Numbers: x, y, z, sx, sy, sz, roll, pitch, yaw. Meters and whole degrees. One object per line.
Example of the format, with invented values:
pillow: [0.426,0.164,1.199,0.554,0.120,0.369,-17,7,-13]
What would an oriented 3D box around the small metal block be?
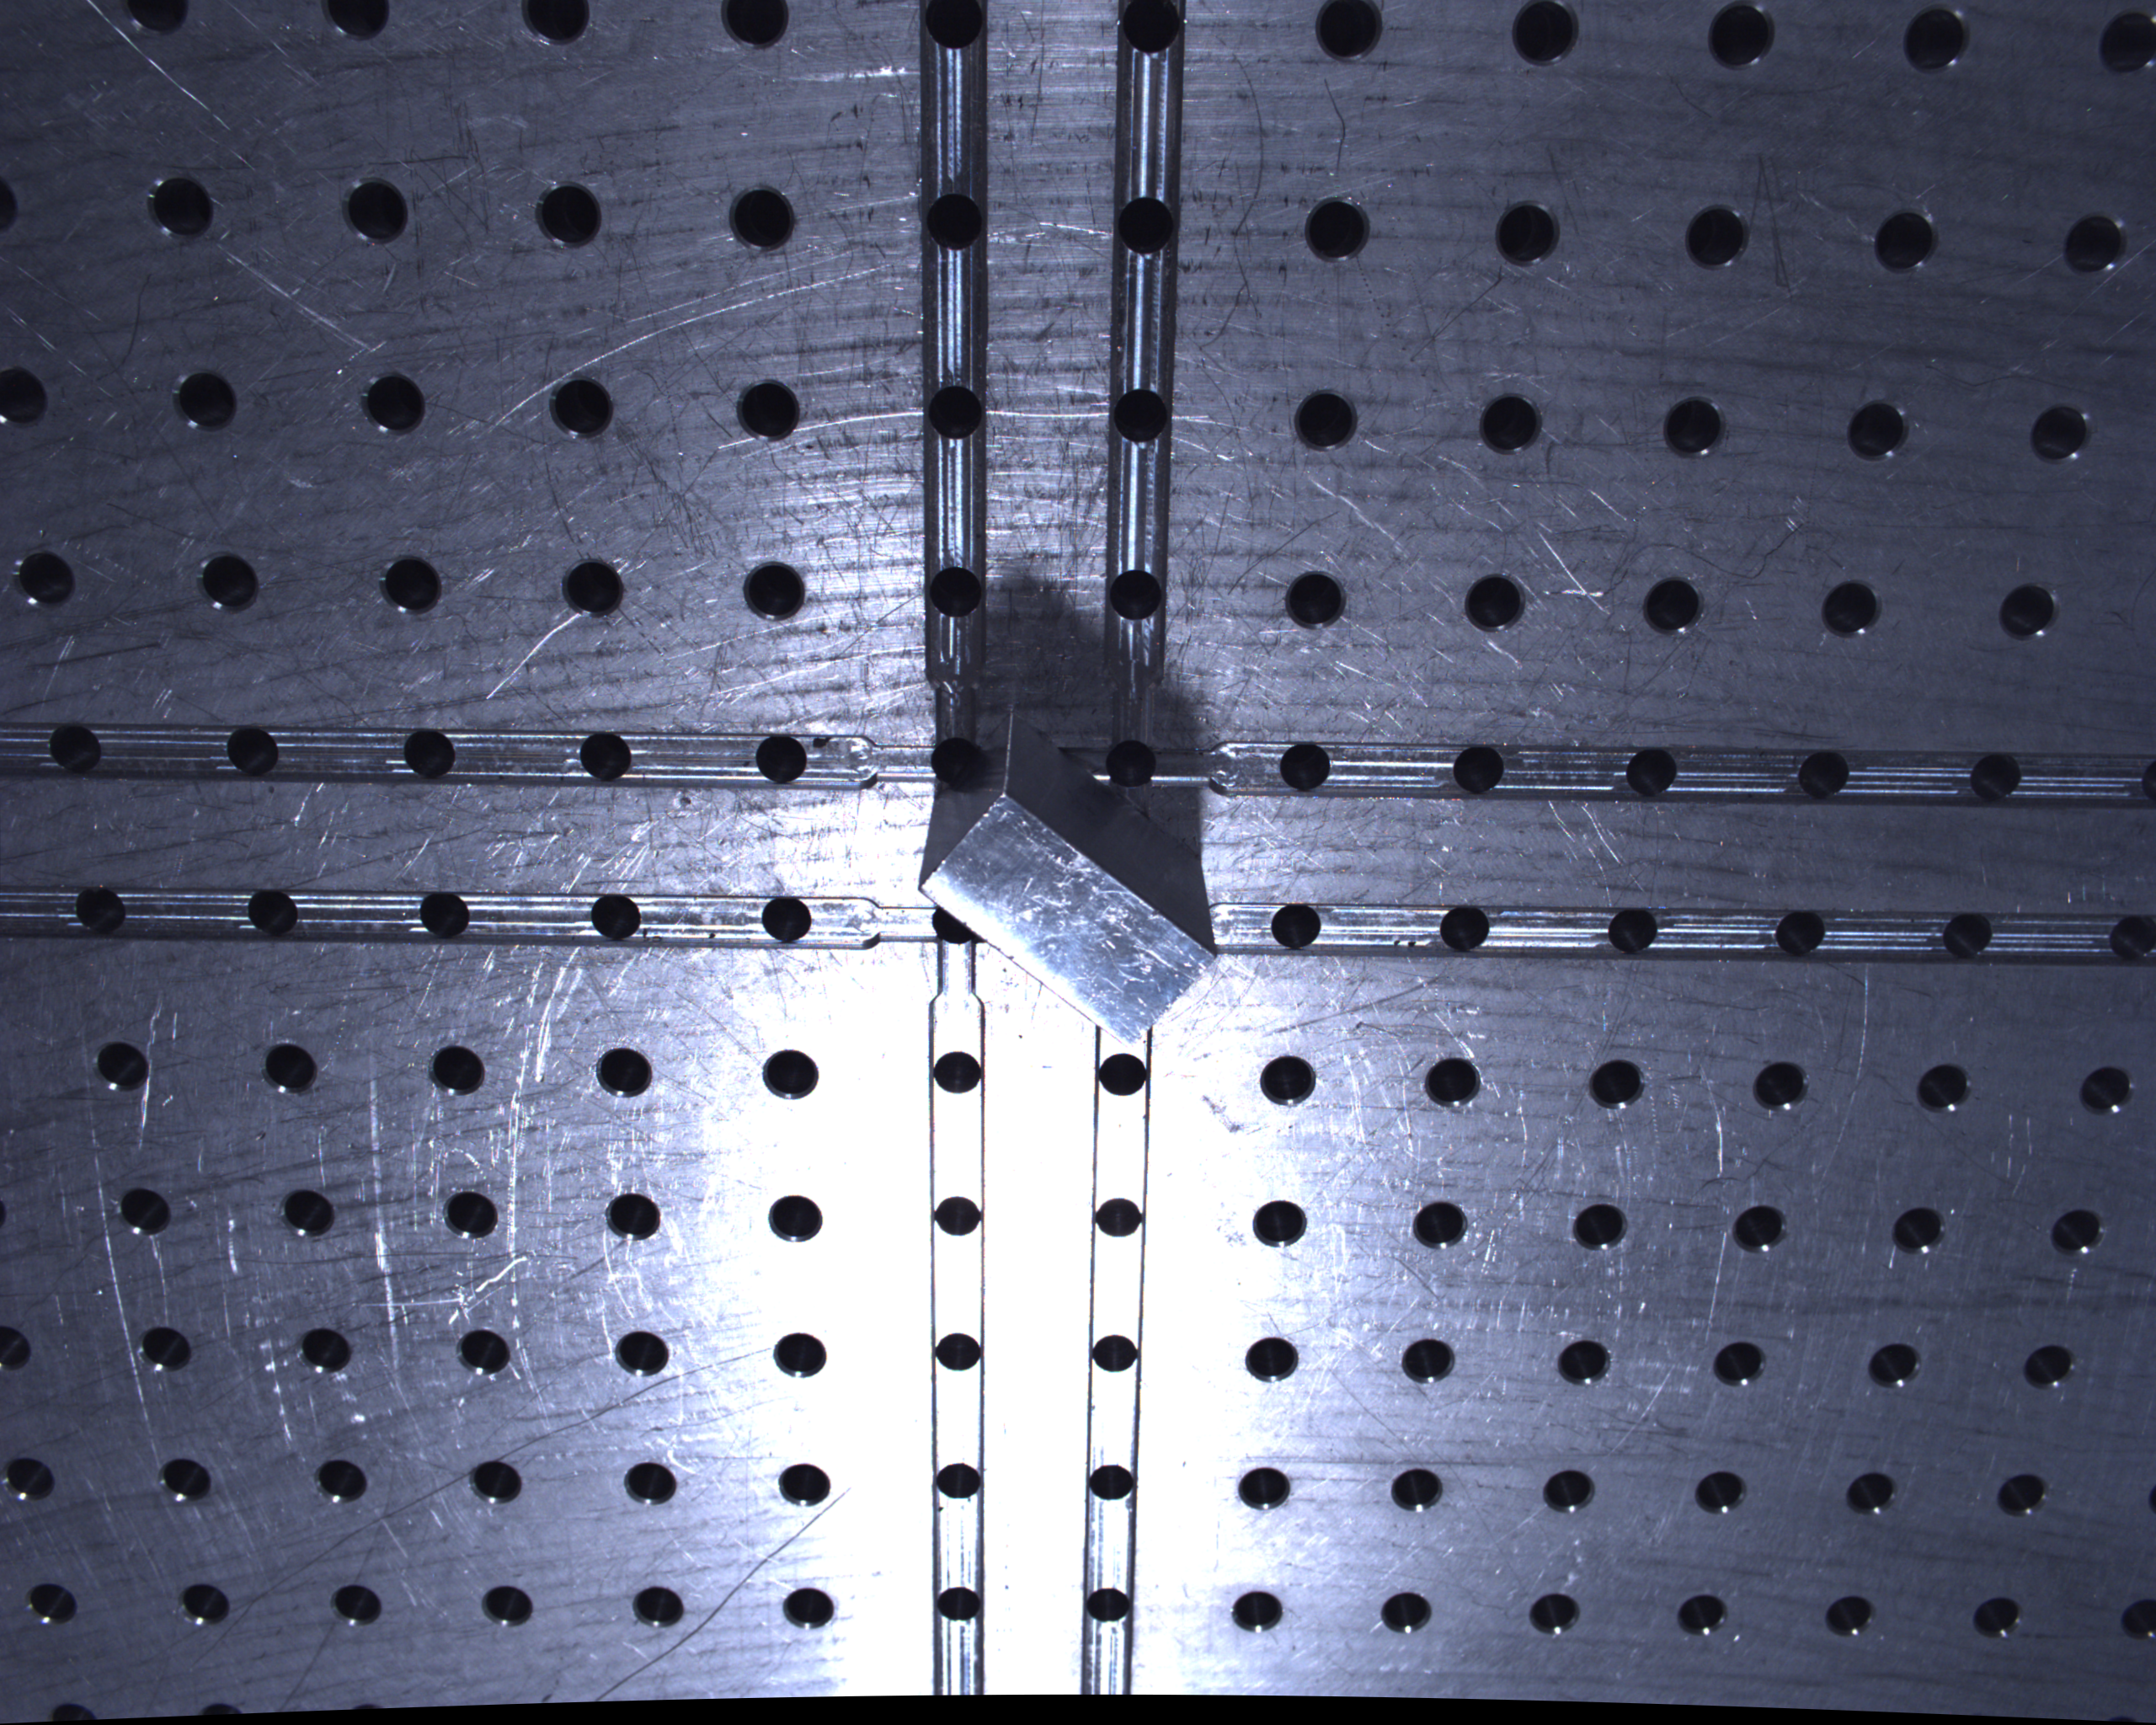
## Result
small metal block: [-0.002,0.002,0.401,0.050,0.050,0.025,38,106,-13]
